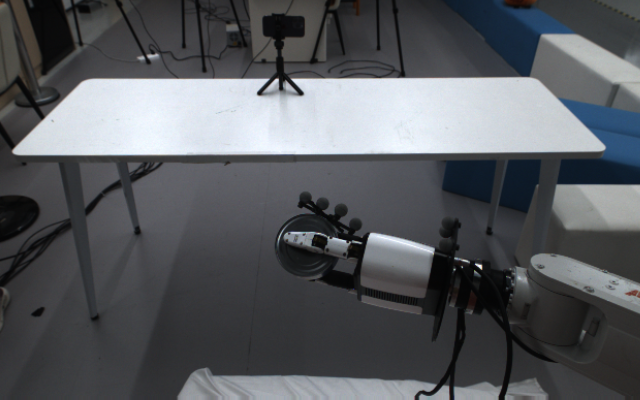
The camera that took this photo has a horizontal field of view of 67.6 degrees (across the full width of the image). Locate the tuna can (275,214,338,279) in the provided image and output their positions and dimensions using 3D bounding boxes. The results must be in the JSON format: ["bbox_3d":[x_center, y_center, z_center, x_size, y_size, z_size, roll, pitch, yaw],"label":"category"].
[{"bbox_3d":[-0.014,0.063,0.650,0.085,0.034,0.085,-2,71,6],"label":"tuna can"}]
